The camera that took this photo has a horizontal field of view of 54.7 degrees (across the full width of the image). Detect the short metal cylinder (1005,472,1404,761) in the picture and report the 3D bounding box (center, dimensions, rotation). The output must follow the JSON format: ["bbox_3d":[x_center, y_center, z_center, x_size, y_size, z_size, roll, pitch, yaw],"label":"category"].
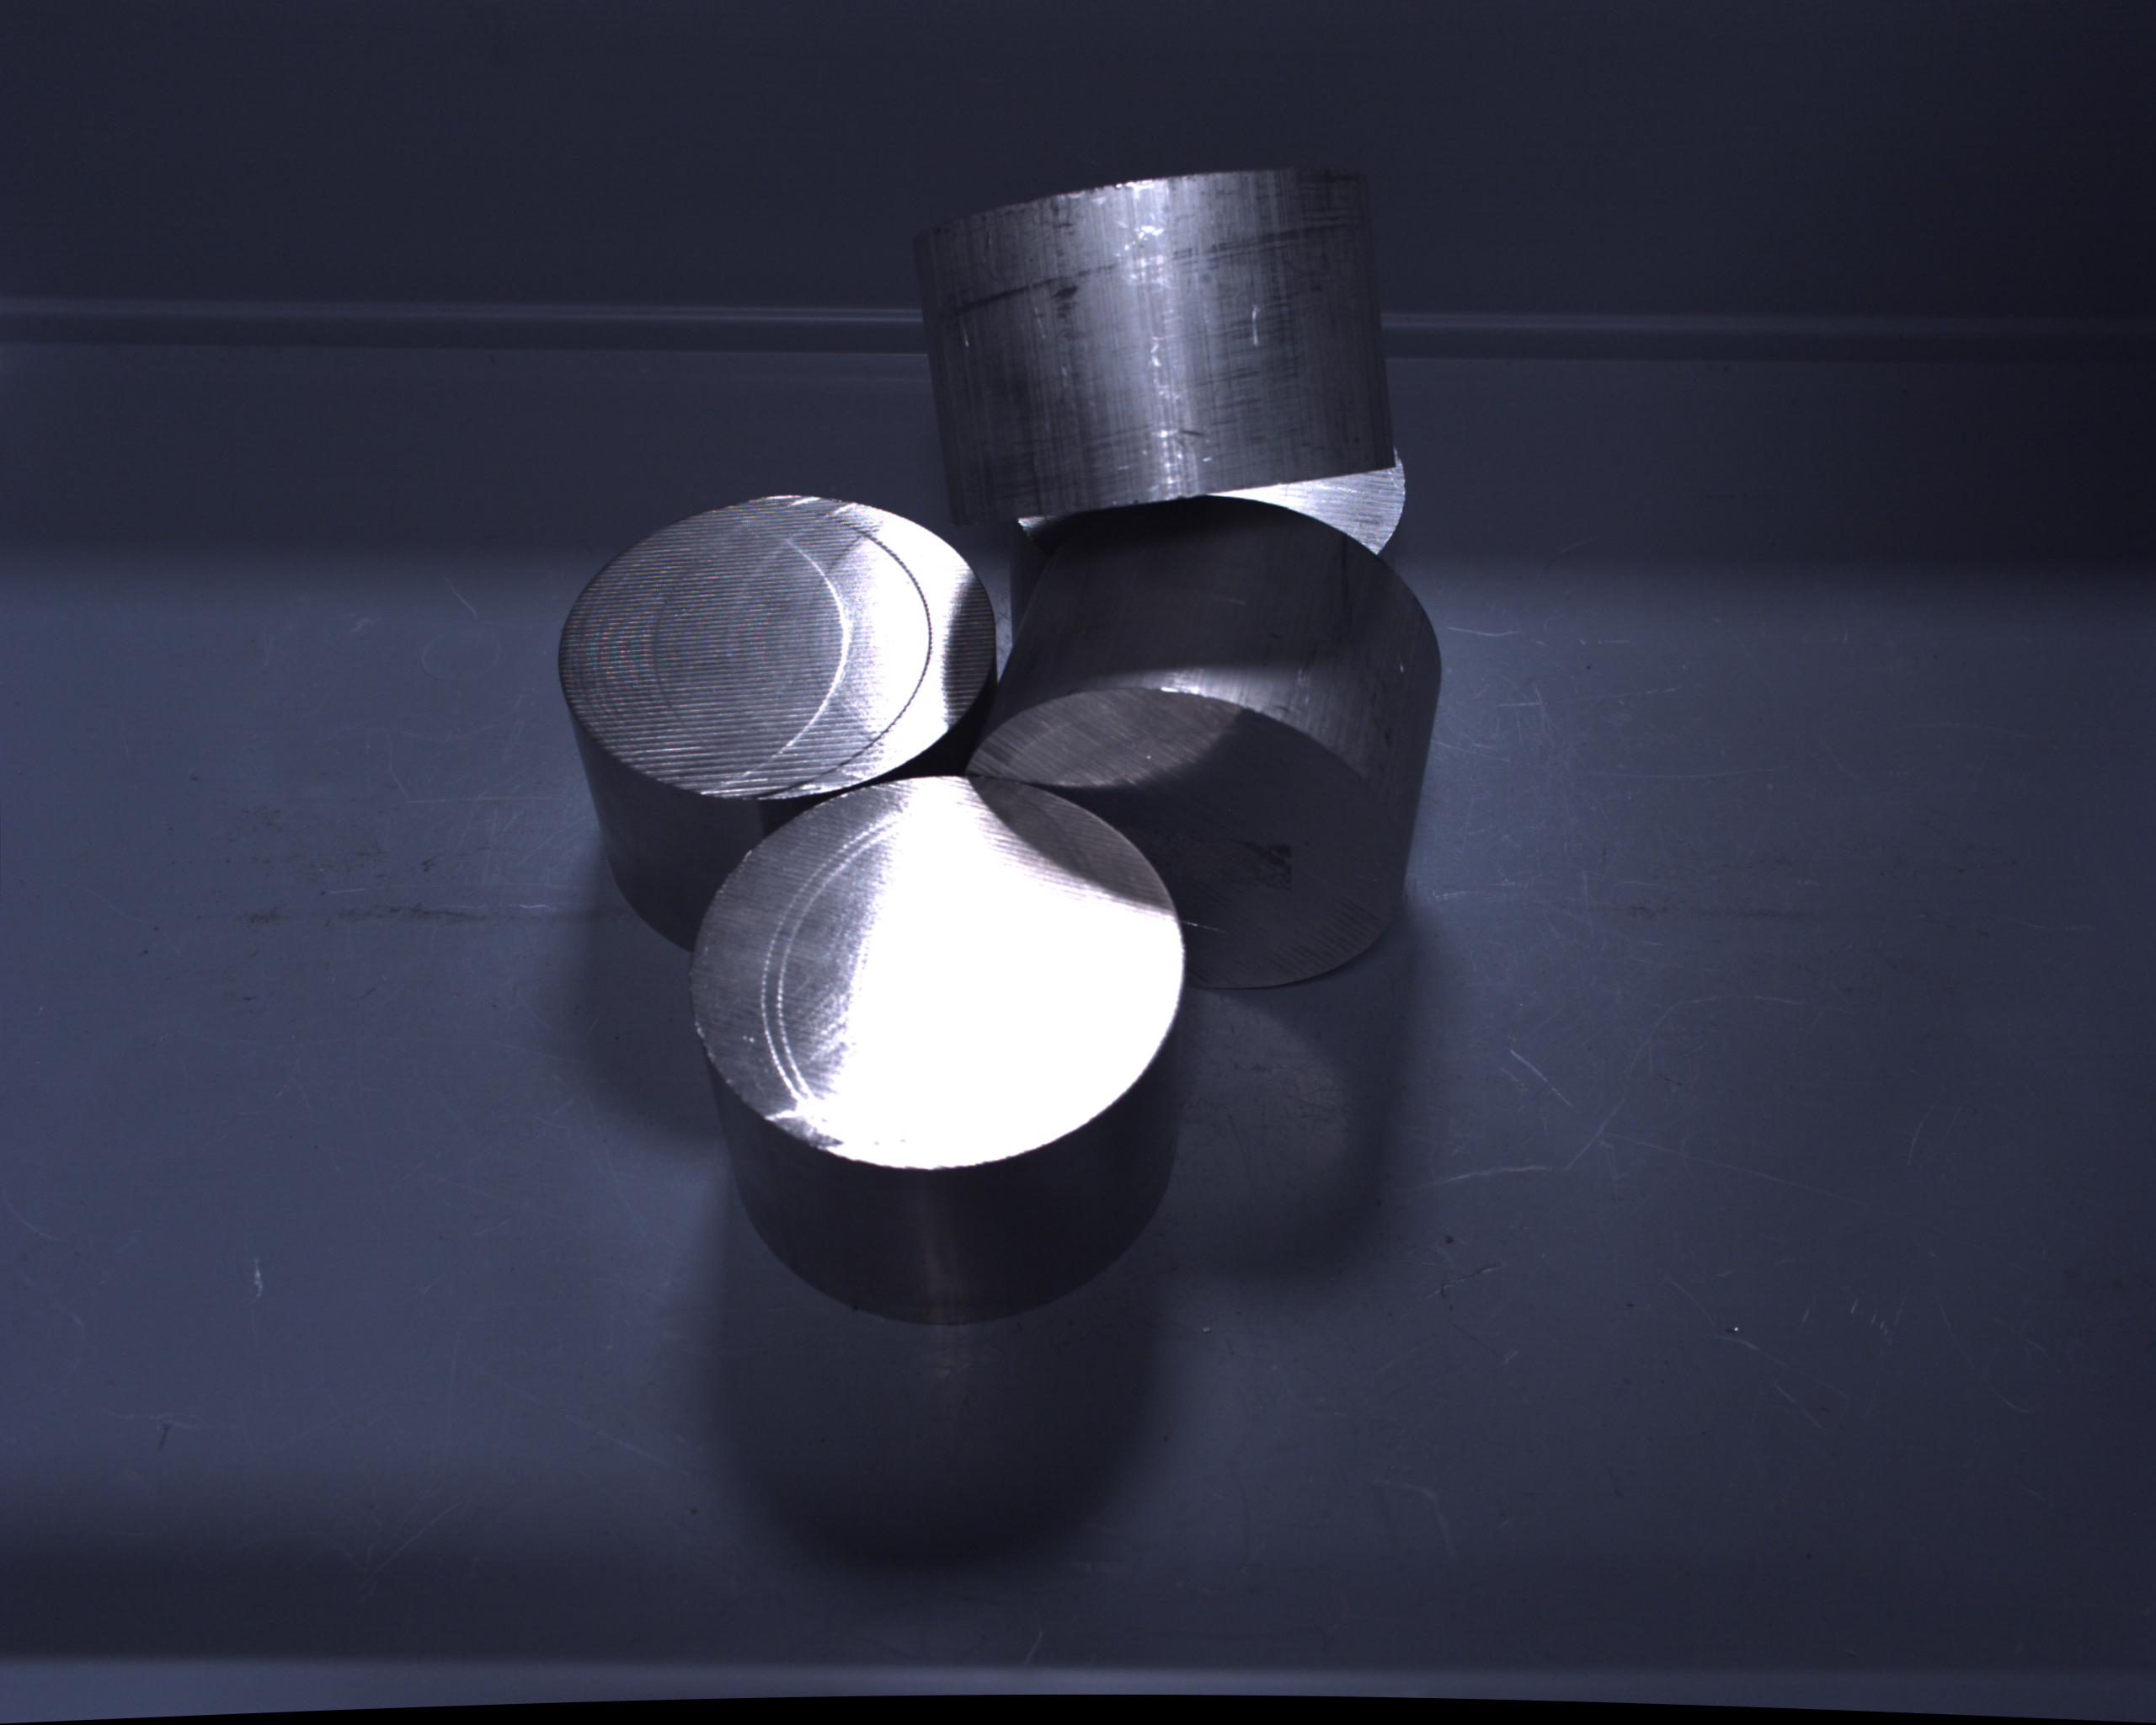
[{"bbox_3d":[0.025,-0.062,0.439,0.081,0.050,0.080,0,50,0],"label":"short metal cylinder"}]

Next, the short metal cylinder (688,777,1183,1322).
[{"bbox_3d":[-0.023,0.031,0.359,0.081,0.050,0.080,0,50,0],"label":"short metal cylinder"}]

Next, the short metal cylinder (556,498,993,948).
[{"bbox_3d":[-0.056,-0.026,0.407,0.081,0.050,0.080,0,50,0],"label":"short metal cylinder"}]

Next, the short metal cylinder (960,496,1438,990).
[{"bbox_3d":[0.023,-0.021,0.386,0.080,0.080,0.050,10,51,8],"label":"short metal cylinder"}]

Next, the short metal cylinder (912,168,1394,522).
[{"bbox_3d":[0.014,-0.091,0.372,0.080,0.050,0.080,-7,10,1],"label":"short metal cylinder"}]
